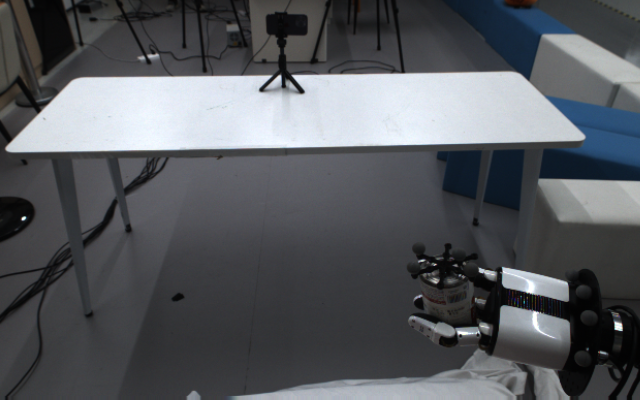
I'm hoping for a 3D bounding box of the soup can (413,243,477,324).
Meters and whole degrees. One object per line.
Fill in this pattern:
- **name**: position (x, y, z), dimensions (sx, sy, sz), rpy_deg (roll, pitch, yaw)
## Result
- **soup can**: position (0.170, 0.130, 0.632), dimensions (0.067, 0.101, 0.067), rpy_deg (-11, 27, 6)
